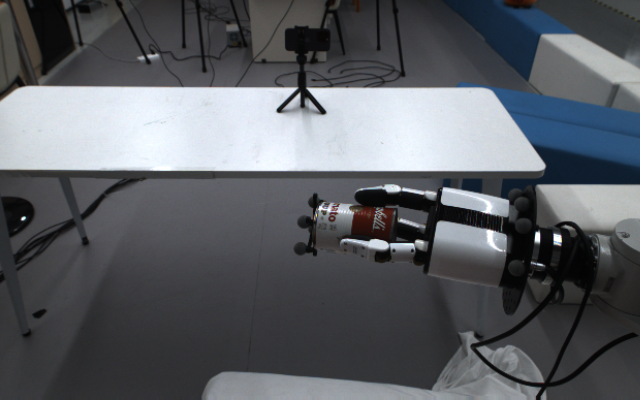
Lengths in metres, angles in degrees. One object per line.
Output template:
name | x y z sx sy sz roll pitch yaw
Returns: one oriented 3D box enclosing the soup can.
soup can | 0.050 0.039 0.633 0.101 0.067 0.067 5 35 13
